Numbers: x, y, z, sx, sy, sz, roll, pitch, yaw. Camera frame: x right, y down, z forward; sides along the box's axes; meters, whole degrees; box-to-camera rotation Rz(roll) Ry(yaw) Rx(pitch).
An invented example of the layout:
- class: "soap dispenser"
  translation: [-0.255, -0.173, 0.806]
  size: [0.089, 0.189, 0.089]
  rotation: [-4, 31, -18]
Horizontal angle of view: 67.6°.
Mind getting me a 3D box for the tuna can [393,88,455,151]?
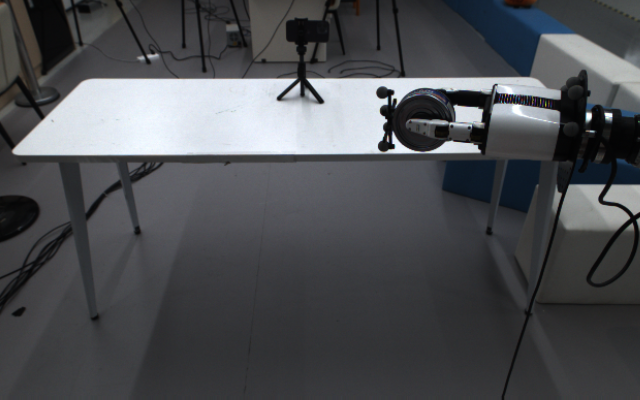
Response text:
- class: "tuna can"
  translation: [0.150, -0.121, 0.687]
  size: [0.085, 0.085, 0.034]
  rotation: [12, 28, 14]
